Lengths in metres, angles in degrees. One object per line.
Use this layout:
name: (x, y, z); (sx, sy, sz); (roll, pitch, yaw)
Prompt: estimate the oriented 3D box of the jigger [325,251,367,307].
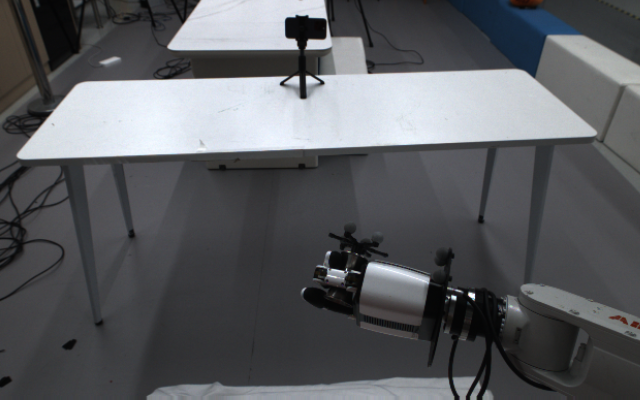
jigger: (0.038, 0.108, 0.671); (0.043, 0.043, 0.071); (15, 71, 18)
